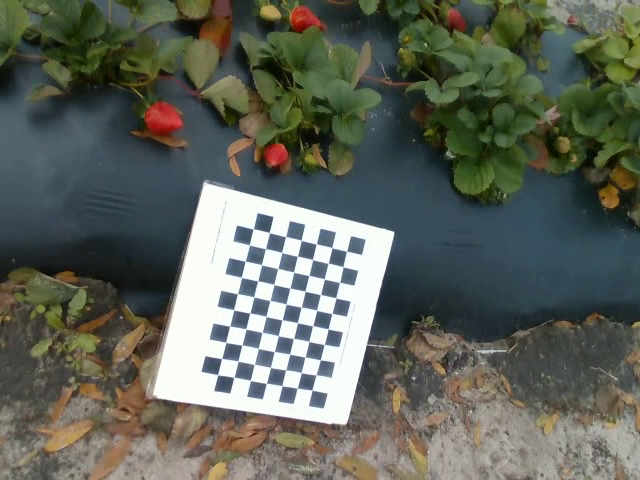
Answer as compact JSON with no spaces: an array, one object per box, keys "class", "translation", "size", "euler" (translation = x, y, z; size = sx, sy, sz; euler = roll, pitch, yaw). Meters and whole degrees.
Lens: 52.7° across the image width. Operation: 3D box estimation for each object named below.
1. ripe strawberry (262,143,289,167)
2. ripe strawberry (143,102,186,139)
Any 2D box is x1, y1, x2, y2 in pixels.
[{"class":"ripe strawberry","translation":[-0.060,-0.115,0.900],"size":[0.041,0.042,0.037],"euler":[25,-53,-18]},{"class":"ripe strawberry","translation":[-0.201,-0.157,0.852],"size":[0.065,0.046,0.043],"euler":[19,0,33]}]
